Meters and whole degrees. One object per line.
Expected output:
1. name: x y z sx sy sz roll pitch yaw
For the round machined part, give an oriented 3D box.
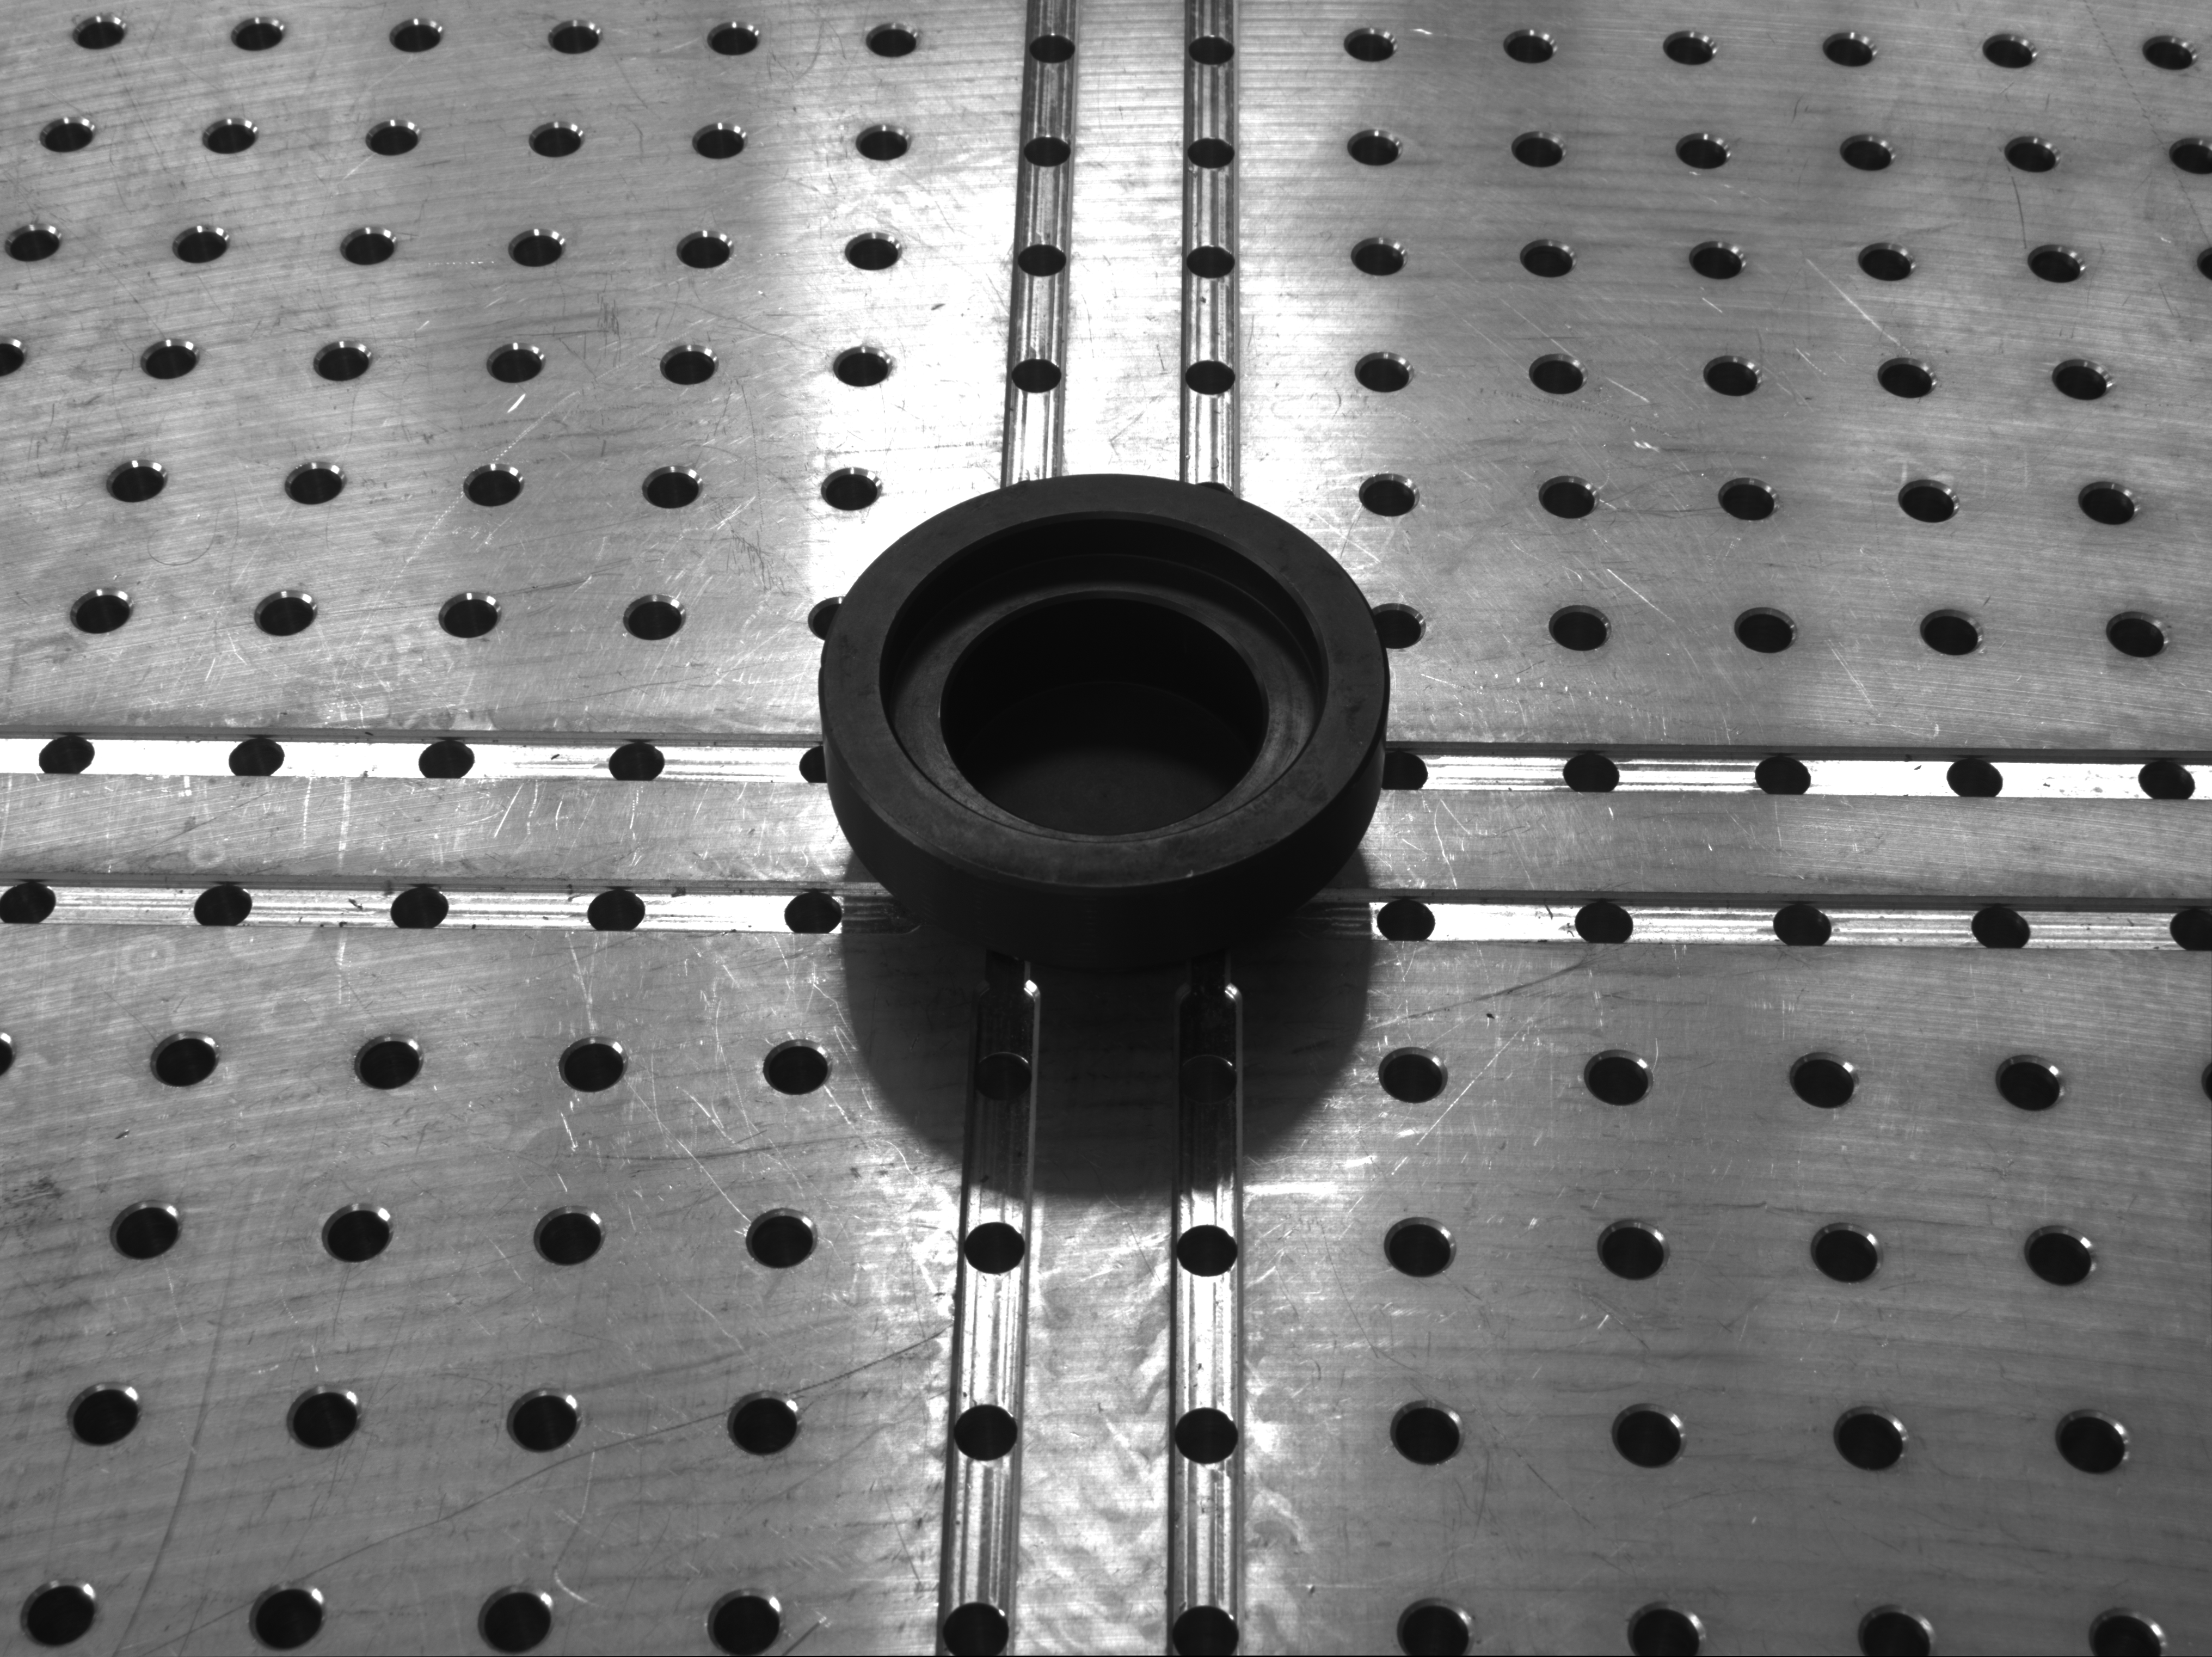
1. round machined part: 0.000 -0.013 0.645 0.098 0.042 0.098 0 50 0
